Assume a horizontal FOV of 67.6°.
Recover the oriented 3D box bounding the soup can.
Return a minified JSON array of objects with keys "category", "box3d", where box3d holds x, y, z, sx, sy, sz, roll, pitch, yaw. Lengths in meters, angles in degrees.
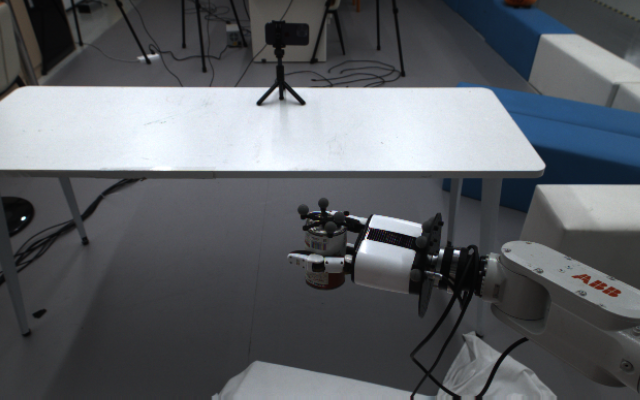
[{"category":"soup can","box3d":[0.010,0.083,0.767,0.067,0.101,0.067,1,25,0]}]
